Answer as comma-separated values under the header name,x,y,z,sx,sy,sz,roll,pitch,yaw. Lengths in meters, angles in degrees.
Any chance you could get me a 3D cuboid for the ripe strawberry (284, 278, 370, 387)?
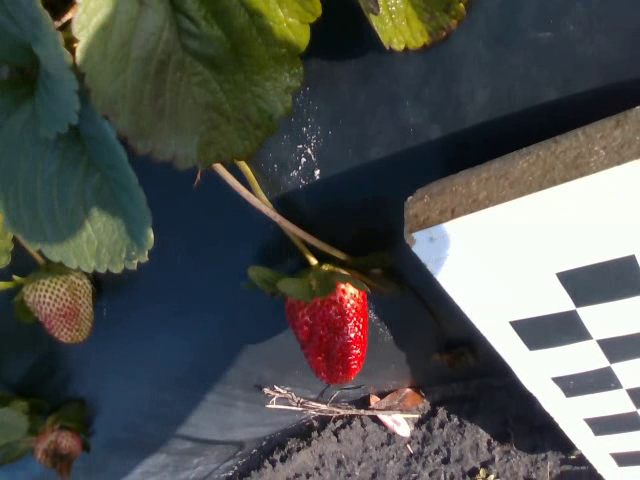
name,x,y,z,sx,sy,sz,roll,pitch,yaw
ripe strawberry,0.001,0.013,0.097,0.015,0.023,0.015,-13,-2,22
